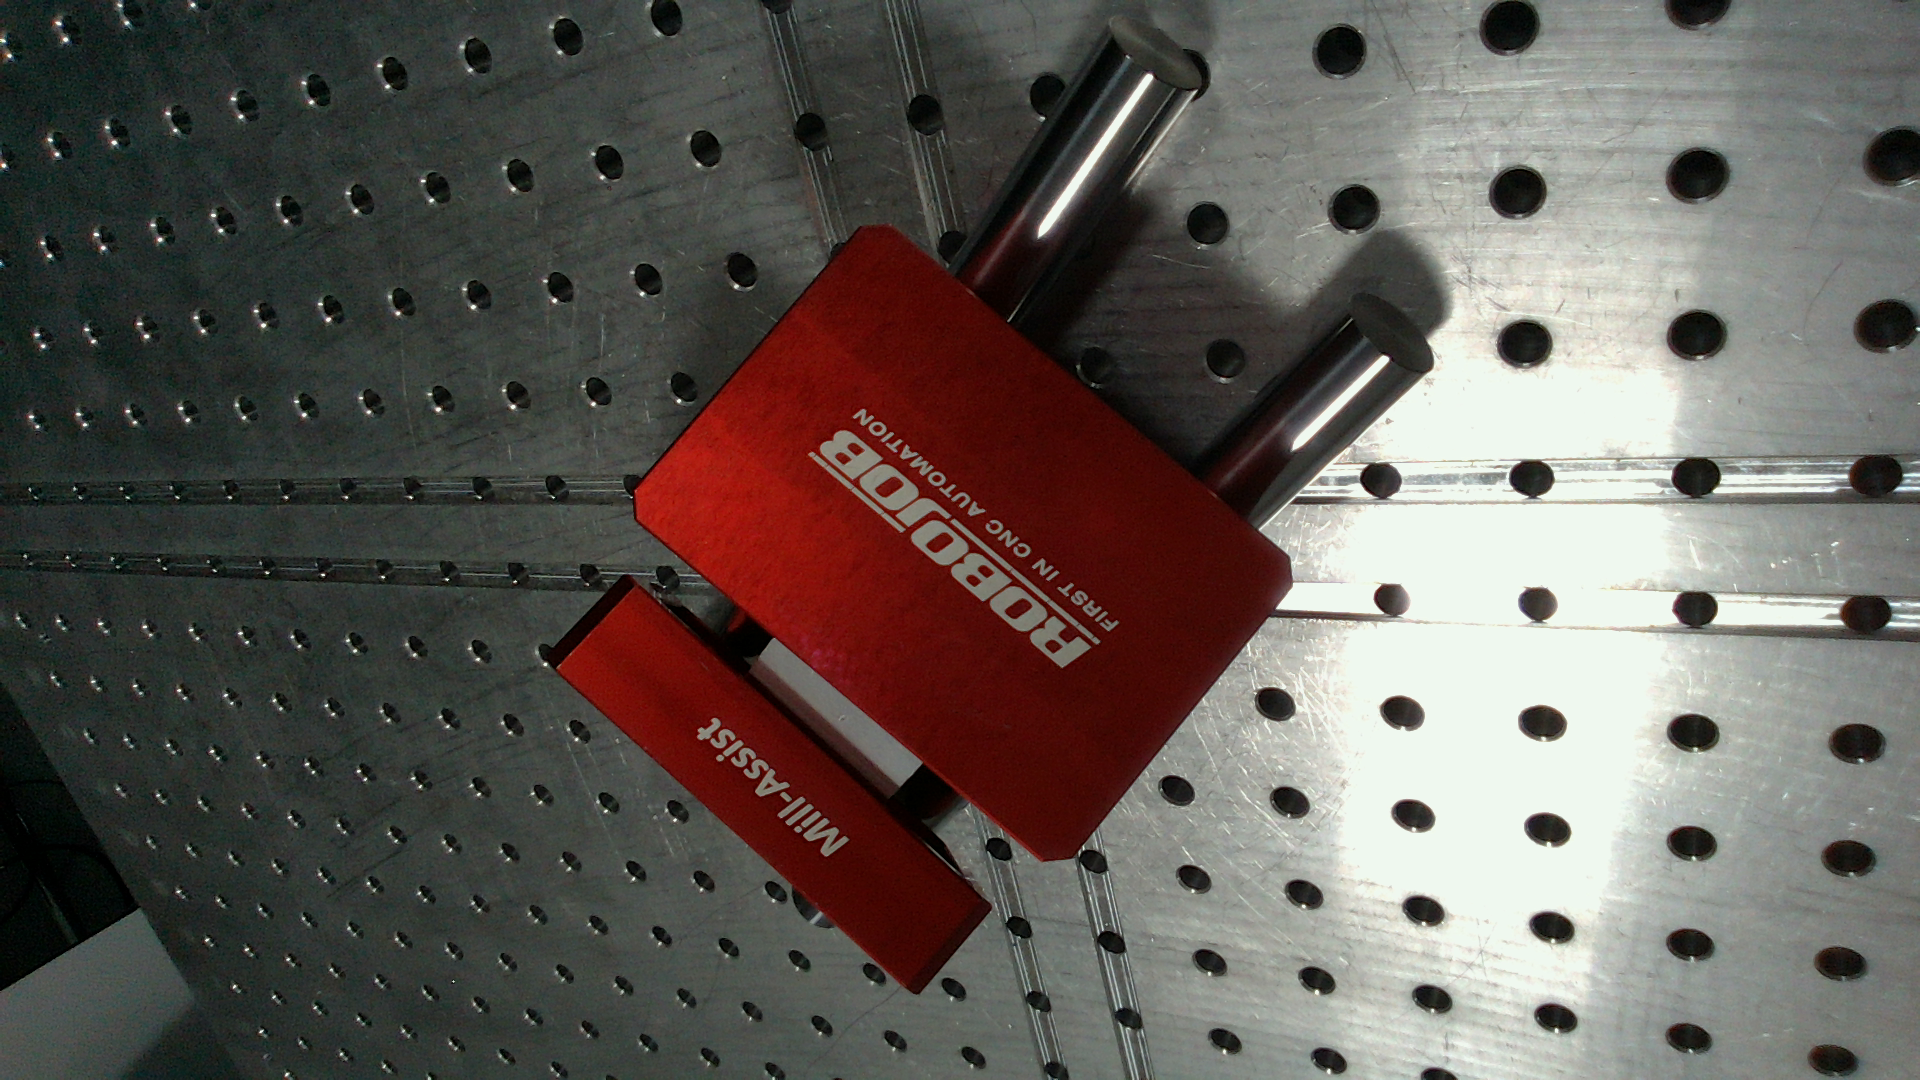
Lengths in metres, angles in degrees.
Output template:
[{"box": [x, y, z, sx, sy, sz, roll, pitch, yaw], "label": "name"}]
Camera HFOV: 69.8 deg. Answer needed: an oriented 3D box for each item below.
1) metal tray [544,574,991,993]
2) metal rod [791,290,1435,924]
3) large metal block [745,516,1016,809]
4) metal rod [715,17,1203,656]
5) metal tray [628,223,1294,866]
[{"box": [-0.053, 0.066, 0.395, 0.130, 0.030, 0.090, 42, 173, -1], "label": "metal tray"}, {"box": [0.024, 0.041, 0.409, 0.025, 0.025, 0.299, 41, 129, 0], "label": "metal rod"}, {"box": [-0.010, 0.019, 0.377, 0.050, 0.080, 0.080, 41, 129, 1], "label": "large metal block"}, {"box": [-0.029, -0.018, 0.401, 0.025, 0.025, 0.299, 40, 129, 1], "label": "metal rod"}, {"box": [0.000, 0.001, 0.326, 0.130, 0.030, 0.090, 40, 85, 1], "label": "metal tray"}]
